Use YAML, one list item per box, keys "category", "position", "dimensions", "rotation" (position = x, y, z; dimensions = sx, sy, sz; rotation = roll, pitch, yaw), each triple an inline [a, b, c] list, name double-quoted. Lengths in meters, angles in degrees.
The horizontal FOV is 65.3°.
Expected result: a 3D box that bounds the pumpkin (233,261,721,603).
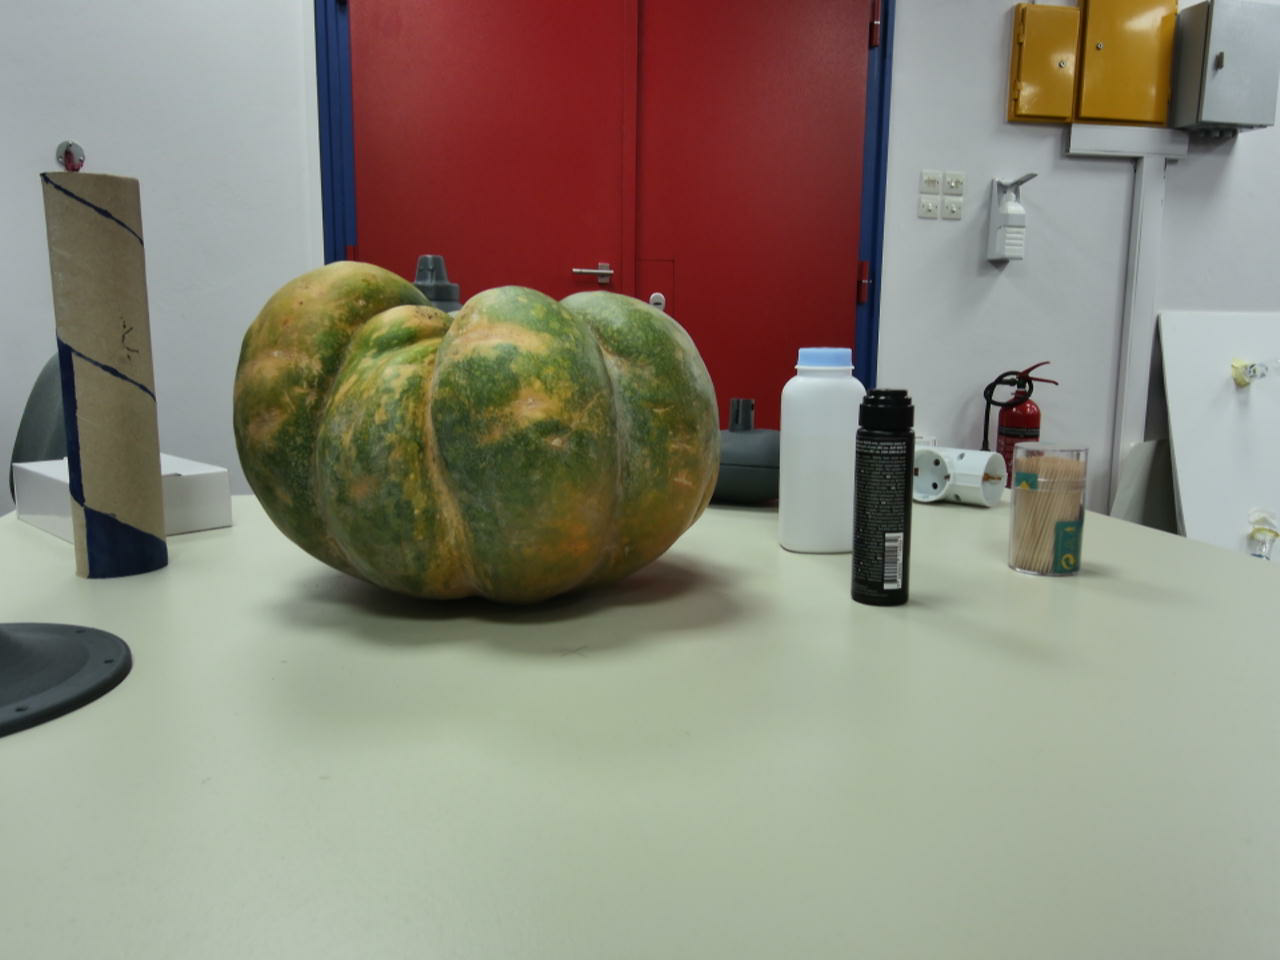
- category: "pumpkin"
  position: [-0.084, -0.027, 0.547]
  dimensions: [0.270, 0.173, 0.237]
  rotation: [3, 7, 24]
